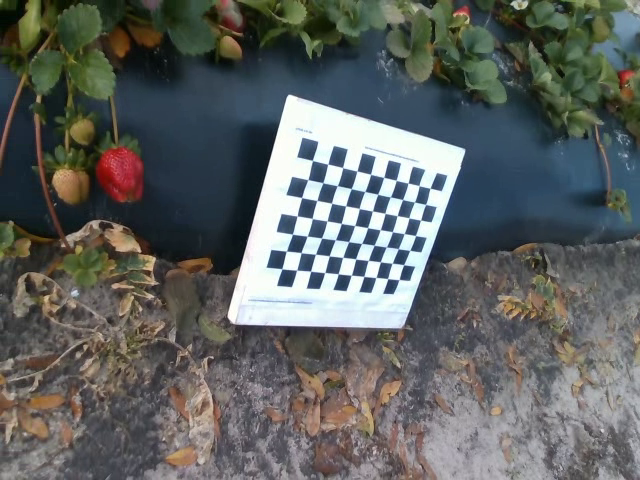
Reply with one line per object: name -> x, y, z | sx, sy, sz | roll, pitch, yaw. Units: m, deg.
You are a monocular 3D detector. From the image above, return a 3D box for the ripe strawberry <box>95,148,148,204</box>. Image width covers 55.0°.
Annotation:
ripe strawberry -> -0.207, -0.069, 0.657 | 0.066, 0.075, 0.052 | -14, 27, -31
